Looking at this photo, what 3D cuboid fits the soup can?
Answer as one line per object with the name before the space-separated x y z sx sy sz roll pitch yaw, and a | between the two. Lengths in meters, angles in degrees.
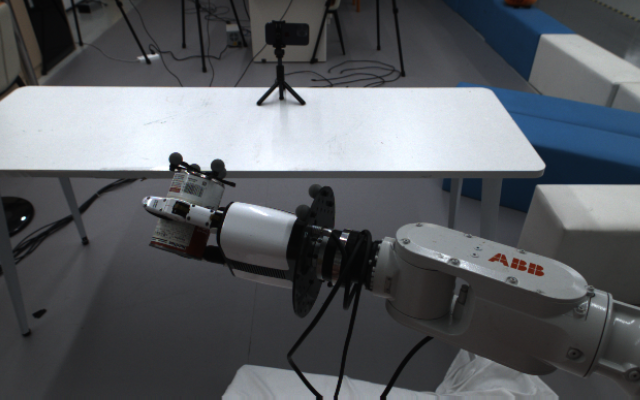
soup can | -0.168 0.021 0.619 0.067 0.067 0.101 13 77 15
